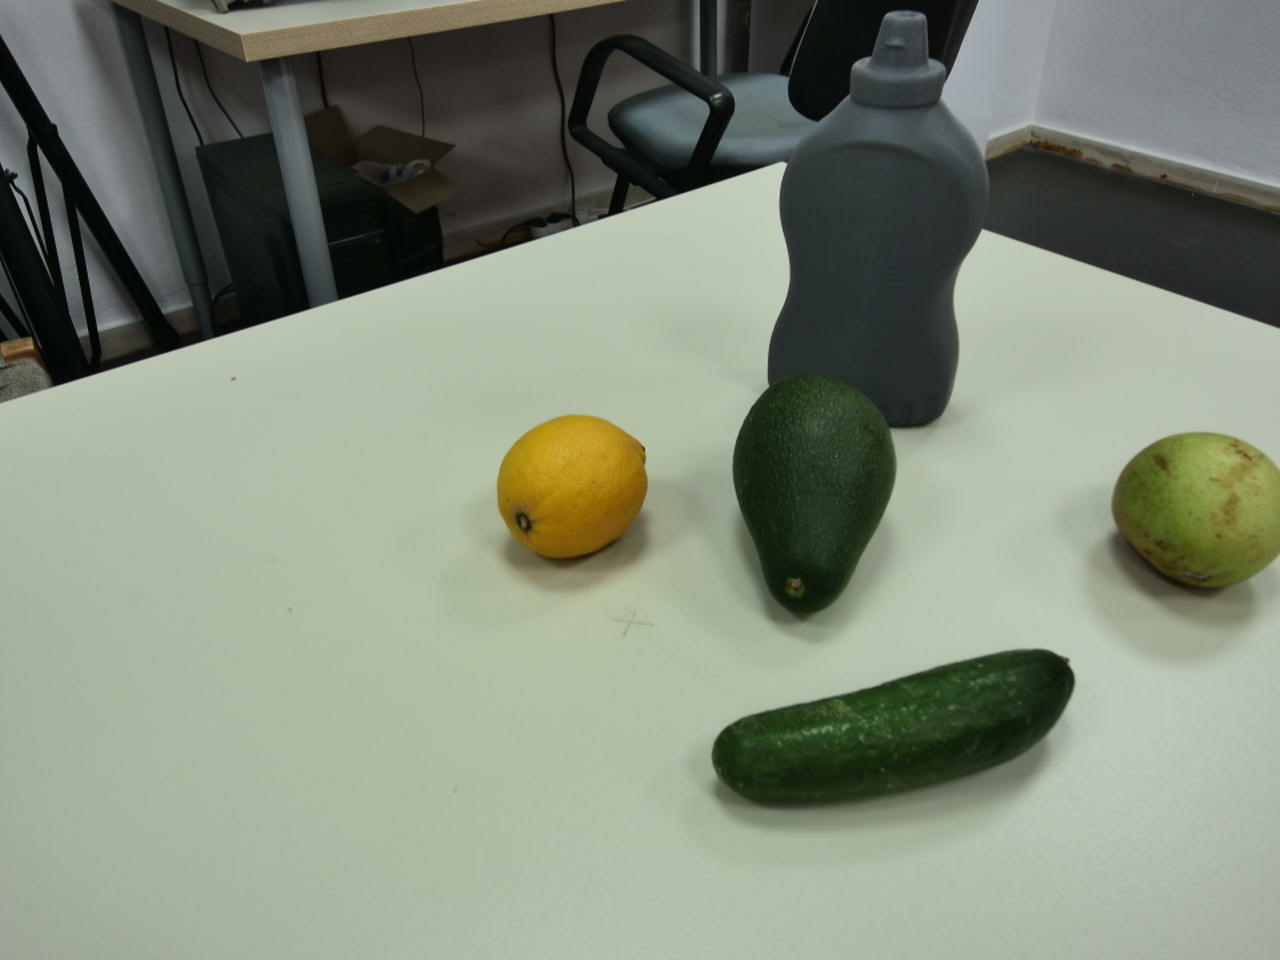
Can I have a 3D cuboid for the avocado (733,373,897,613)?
[{"bbox_3d":[0.070,0.000,0.428,0.073,0.071,0.109,17,39,24],"label":"avocado"}]
